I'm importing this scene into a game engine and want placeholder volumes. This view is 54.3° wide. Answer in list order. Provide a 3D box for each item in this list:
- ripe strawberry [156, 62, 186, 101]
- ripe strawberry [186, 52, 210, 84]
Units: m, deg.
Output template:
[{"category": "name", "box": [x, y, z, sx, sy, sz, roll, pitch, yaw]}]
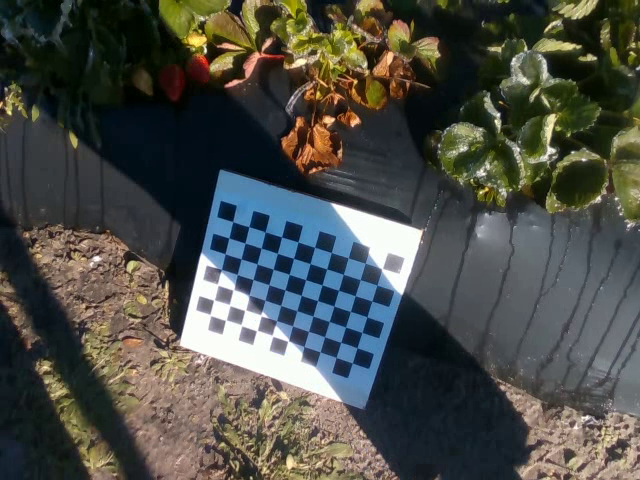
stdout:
[{"category": "ripe strawberry", "box": [-0.183, -0.192, 0.773, 0.036, 0.052, 0.040, -21, -30, 14]}, {"category": "ripe strawberry", "box": [-0.150, -0.215, 0.780, 0.036, 0.041, 0.030, -46, -5, 17]}]
